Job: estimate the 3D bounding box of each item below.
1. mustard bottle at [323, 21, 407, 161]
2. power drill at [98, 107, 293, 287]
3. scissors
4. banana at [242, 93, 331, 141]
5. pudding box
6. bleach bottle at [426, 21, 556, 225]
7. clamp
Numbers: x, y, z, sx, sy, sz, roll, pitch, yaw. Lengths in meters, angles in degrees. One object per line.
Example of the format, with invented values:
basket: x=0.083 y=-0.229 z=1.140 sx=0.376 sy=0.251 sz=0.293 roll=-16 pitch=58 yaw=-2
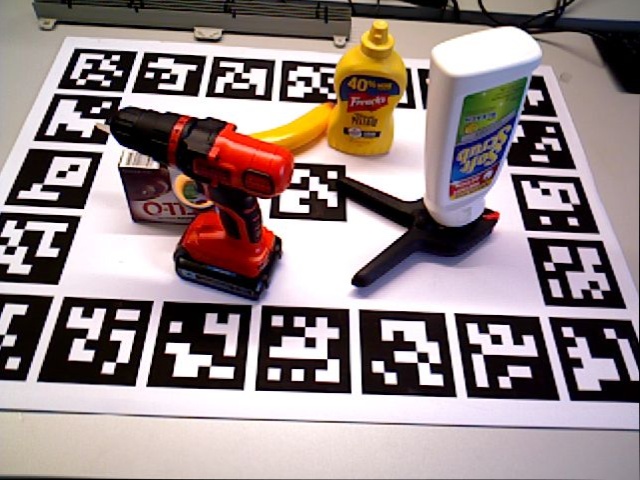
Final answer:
mustard bottle: x=0.061 y=-0.191 z=0.704 sx=0.096 sy=0.196 sz=0.057 roll=15 pitch=54 yaw=4
power drill: x=-0.119 y=-0.041 z=0.545 sx=0.184 sy=0.191 sz=0.056 roll=12 pitch=47 yaw=7
scissors: x=-0.187 y=-0.111 z=0.605 sx=0.202 sy=0.016 sz=0.086 roll=26 pitch=61 yaw=8
banana: x=-0.051 y=-0.168 z=0.761 sx=0.194 sy=0.039 sz=0.074 roll=-32 pitch=46 yaw=-23
pudding box: x=-0.183 y=-0.066 z=0.654 sx=0.113 sy=0.092 sz=0.038 roll=7 pitch=47 yaw=-1
bleach bottle: x=0.172 y=-0.101 z=0.589 sx=0.102 sy=0.255 sz=0.067 roll=-16 pitch=53 yaw=-8
clamp: x=0.128 y=-0.027 z=0.665 sx=0.201 sy=0.037 sz=0.163 roll=-2 pitch=57 yaw=-8
